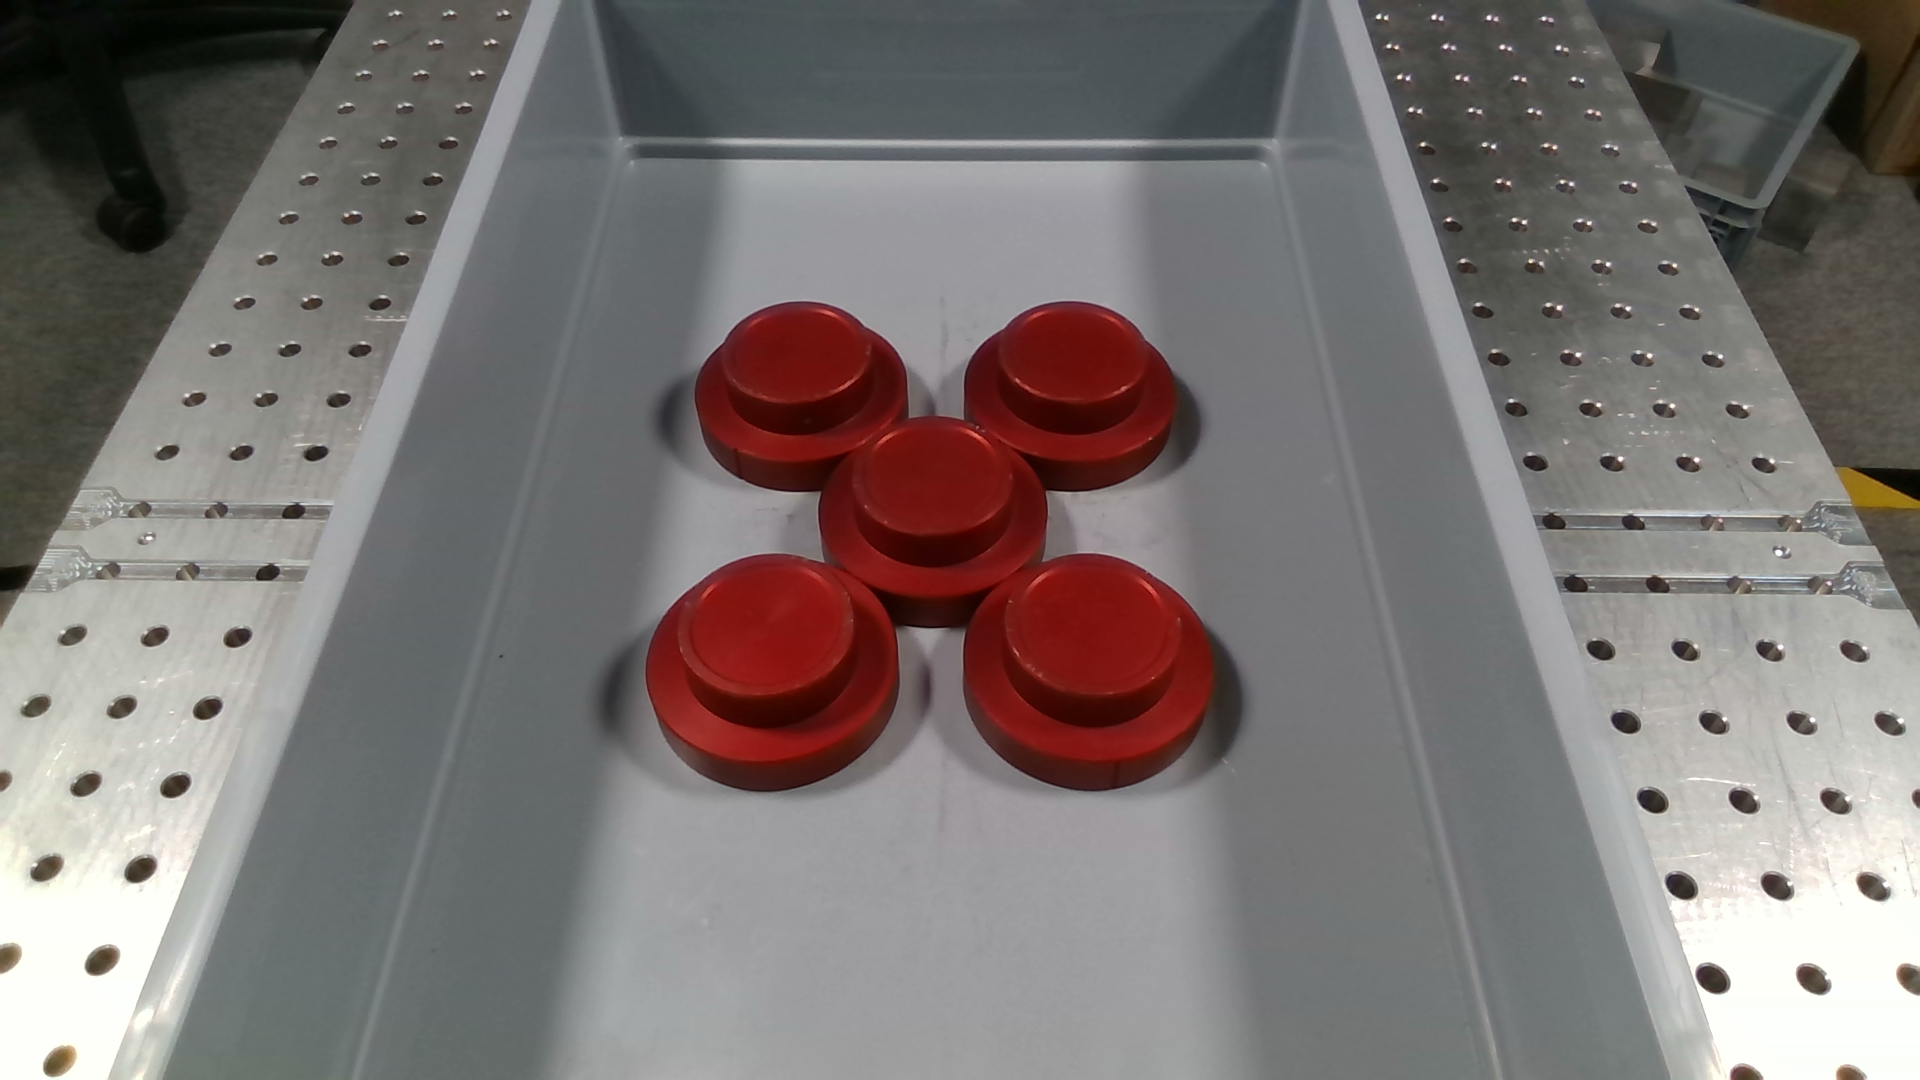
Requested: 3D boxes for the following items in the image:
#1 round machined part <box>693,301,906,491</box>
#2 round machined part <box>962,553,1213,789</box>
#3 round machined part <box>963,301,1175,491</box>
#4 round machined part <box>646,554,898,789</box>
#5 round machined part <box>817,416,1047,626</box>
[{"bbox_3d":[-0.074,-0.072,0.635,0.098,0.042,0.098,0,50,0],"label":"round machined part"},{"bbox_3d":[0.050,0.044,0.538,0.098,0.042,0.098,0,50,0],"label":"round machined part"},{"bbox_3d":[0.050,-0.073,0.635,0.098,0.042,0.098,0,50,0],"label":"round machined part"},{"bbox_3d":[-0.073,0.044,0.538,0.098,0.042,0.098,0,50,0],"label":"round machined part"},{"bbox_3d":[-0.012,-0.015,0.586,0.098,0.042,0.098,0,50,0],"label":"round machined part"}]
